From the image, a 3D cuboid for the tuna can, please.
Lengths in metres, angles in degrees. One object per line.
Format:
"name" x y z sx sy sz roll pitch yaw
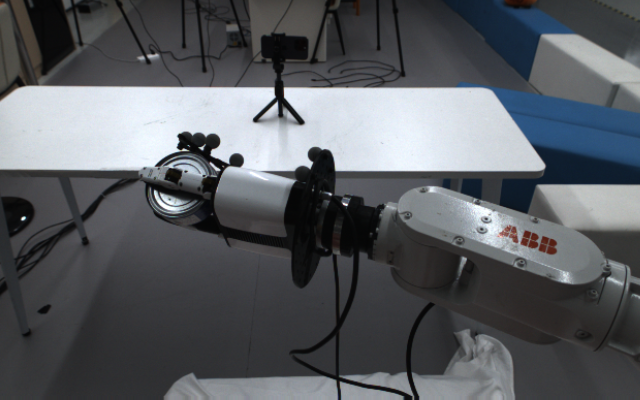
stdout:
"tuna can" -0.161 -0.013 0.584 0.085 0.034 0.085 -4 67 10
